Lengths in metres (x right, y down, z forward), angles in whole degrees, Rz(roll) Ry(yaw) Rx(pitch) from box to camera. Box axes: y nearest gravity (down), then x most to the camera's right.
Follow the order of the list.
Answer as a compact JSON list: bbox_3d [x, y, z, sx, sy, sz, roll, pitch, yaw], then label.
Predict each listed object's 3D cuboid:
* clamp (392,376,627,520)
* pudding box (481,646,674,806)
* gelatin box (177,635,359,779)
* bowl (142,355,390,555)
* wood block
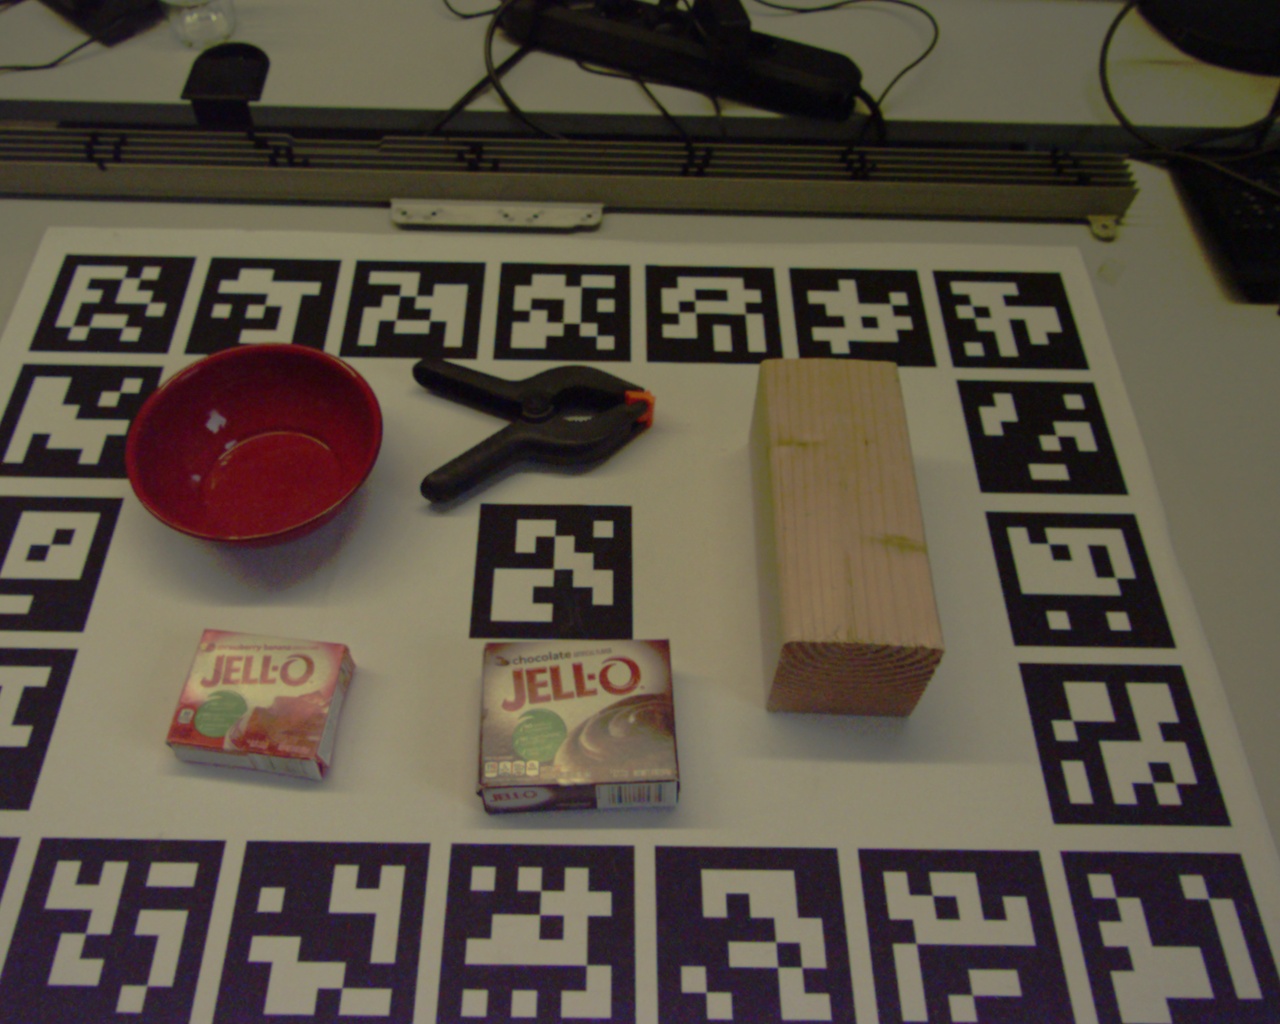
[{"bbox_3d":[-0.090,-0.056,0.817,0.164,0.036,0.122,-8,57,-9],"label":"clamp"},{"bbox_3d":[-0.037,0.128,0.685,0.114,0.038,0.090,-1,60,0],"label":"pudding box"},{"bbox_3d":[-0.224,0.117,0.691,0.089,0.030,0.073,7,58,3],"label":"gelatin box"},{"bbox_3d":[-0.250,-0.029,0.782,0.161,0.055,0.162,1,59,-2],"label":"bowl"},{"bbox_3d":[0.121,0.019,0.731,0.090,0.091,0.207,3,56,-1],"label":"wood block"}]
